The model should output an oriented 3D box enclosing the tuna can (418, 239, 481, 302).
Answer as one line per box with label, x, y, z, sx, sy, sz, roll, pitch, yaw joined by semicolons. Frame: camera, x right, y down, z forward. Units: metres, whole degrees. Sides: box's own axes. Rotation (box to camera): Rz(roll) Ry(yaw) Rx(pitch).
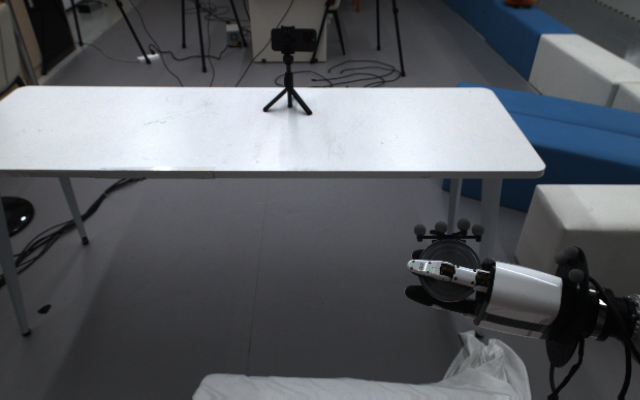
tuna can;0.180;0.097;0.672;0.085;0.034;0.085;-5;70;15
